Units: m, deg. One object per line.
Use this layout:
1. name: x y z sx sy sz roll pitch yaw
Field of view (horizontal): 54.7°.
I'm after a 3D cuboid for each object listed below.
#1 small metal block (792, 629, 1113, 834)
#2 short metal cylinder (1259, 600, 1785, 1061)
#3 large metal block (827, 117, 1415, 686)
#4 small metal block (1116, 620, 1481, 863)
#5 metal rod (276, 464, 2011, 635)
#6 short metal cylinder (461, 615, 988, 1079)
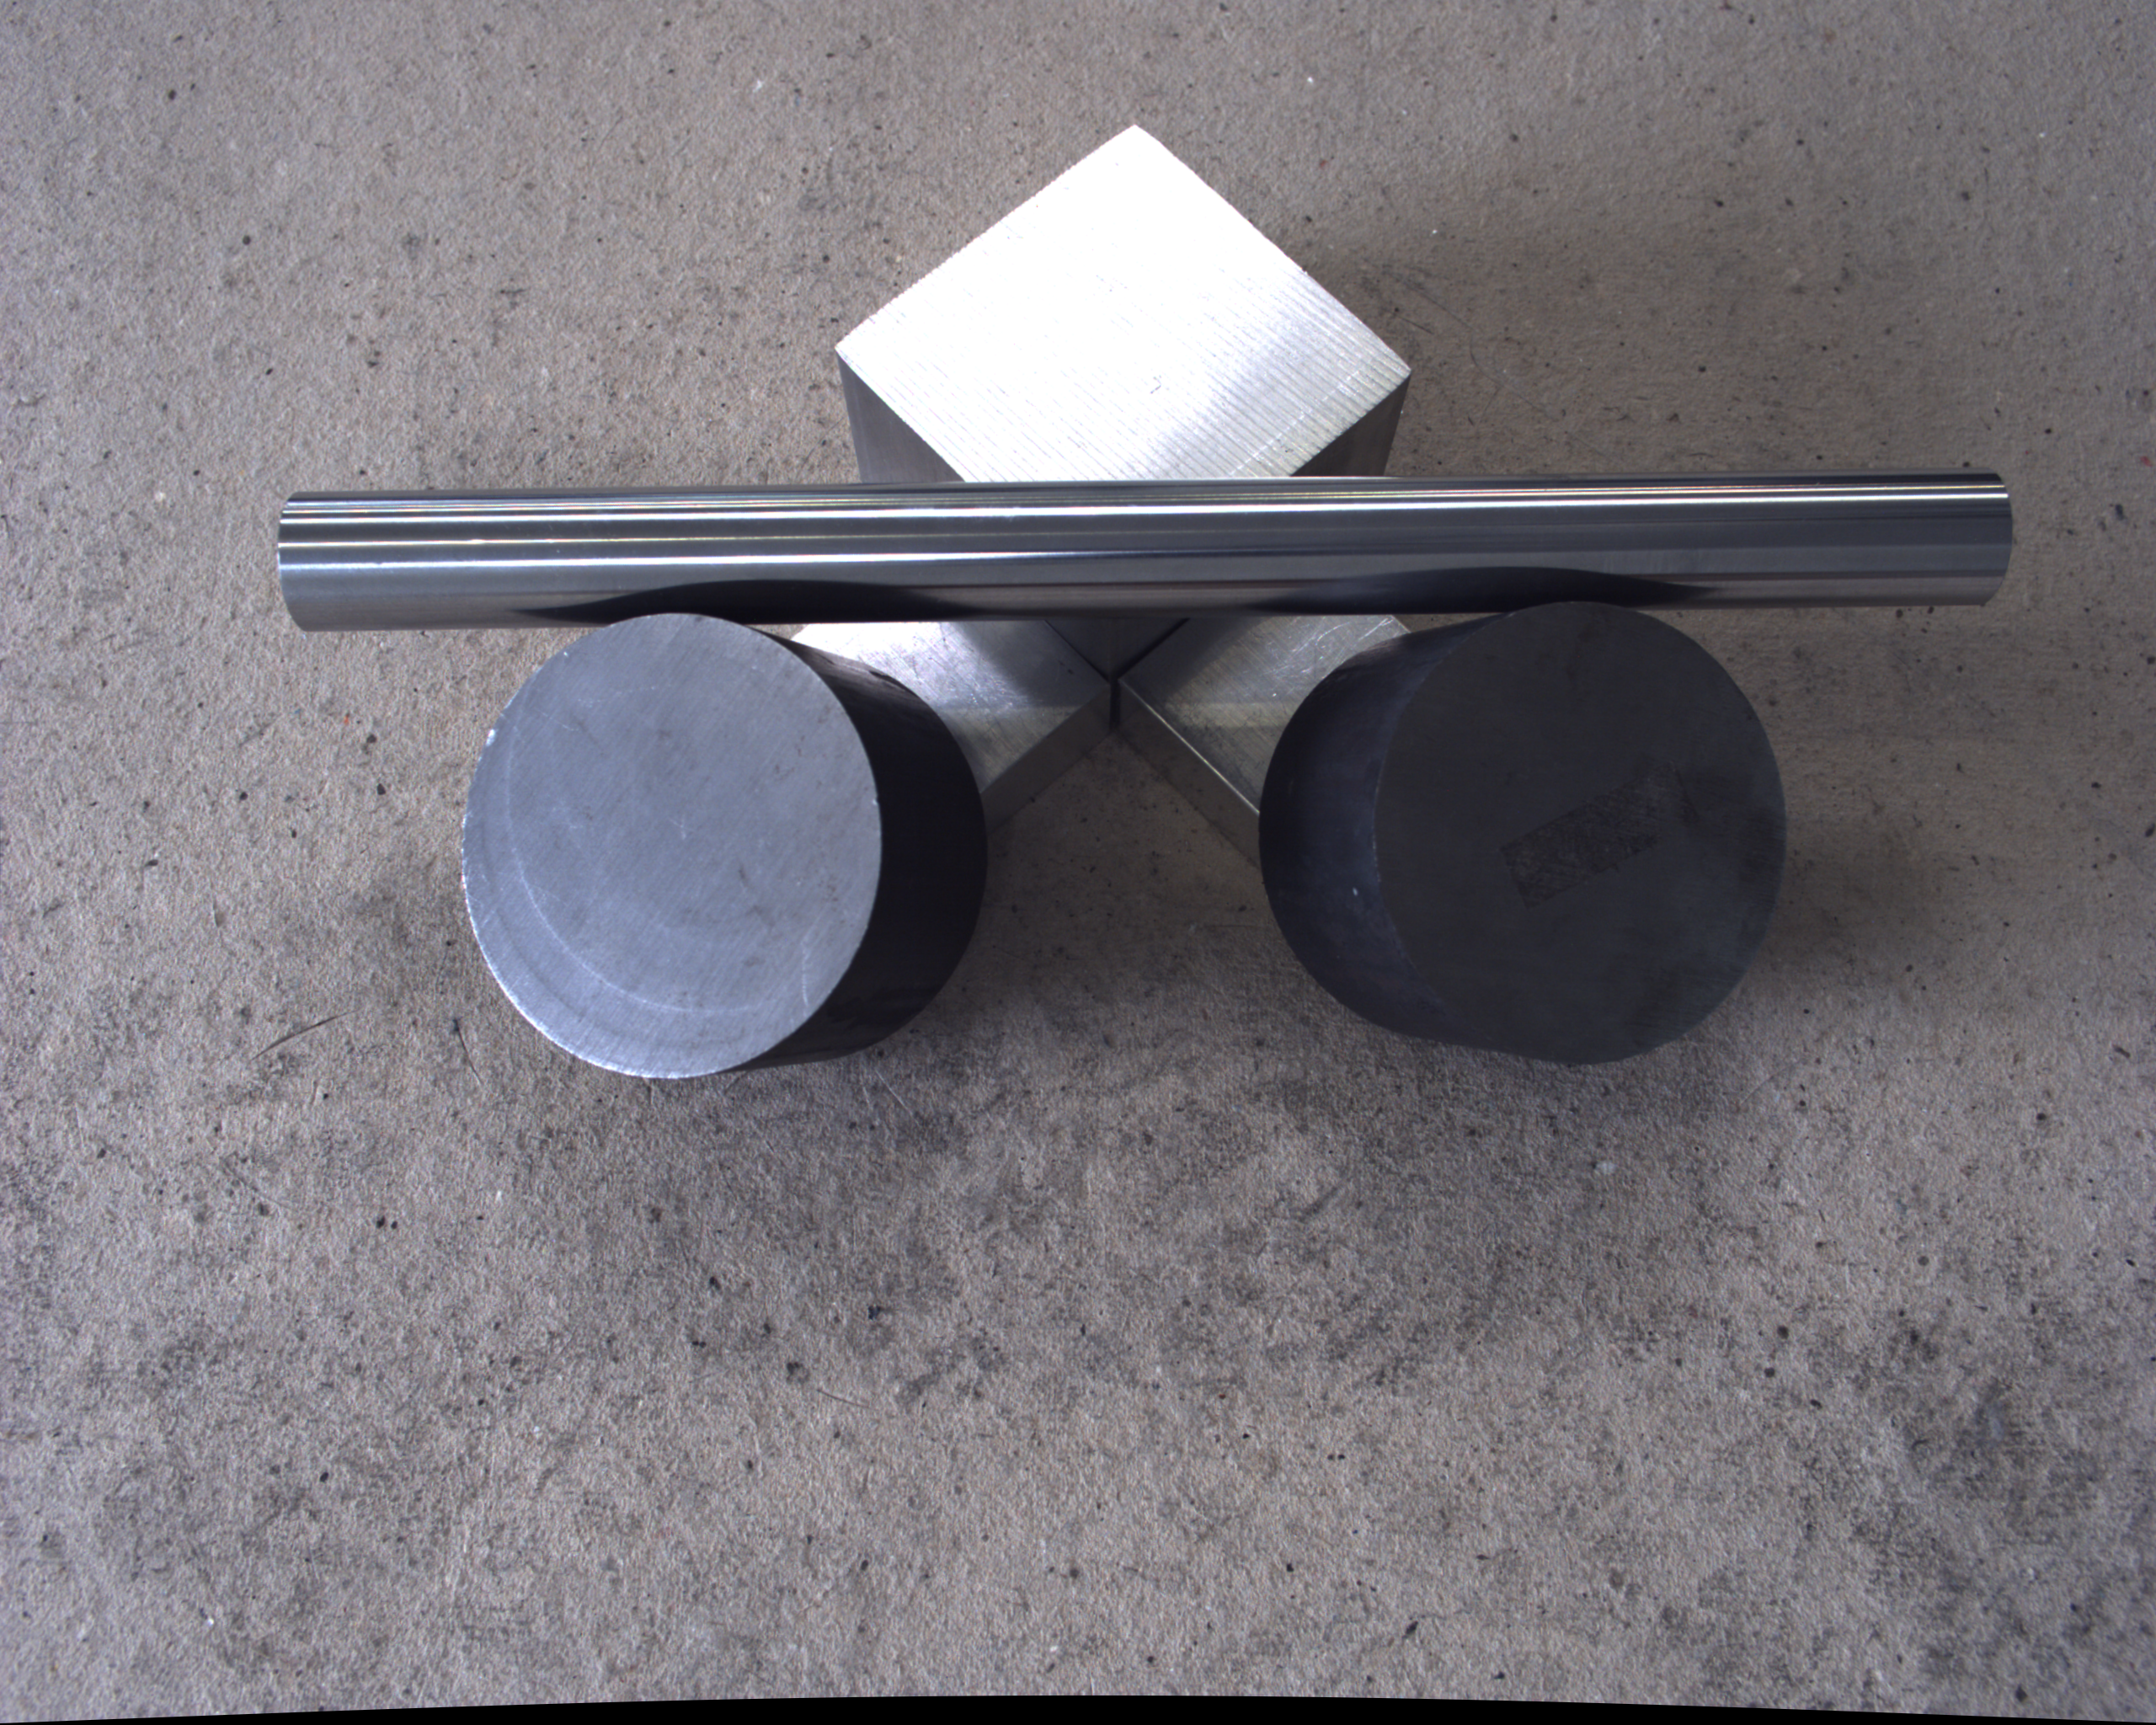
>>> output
1. small metal block: -0.029 -0.032 0.421 0.050 0.025 0.050 -41 75 -15
2. short metal cylinder: 0.080 -0.005 0.384 0.081 0.050 0.080 0 89 -18
3. large metal block: 0.008 -0.090 0.427 0.080 0.050 0.080 -40 75 -13
4. small metal block: 0.044 -0.031 0.420 0.050 0.025 0.050 -42 75 -14
5. metal rod: 0.012 -0.056 0.375 0.302 0.025 0.025 -1 70 -1
6. short metal cylinder: -0.063 -0.002 0.381 0.080 0.050 0.080 -1 87 18
